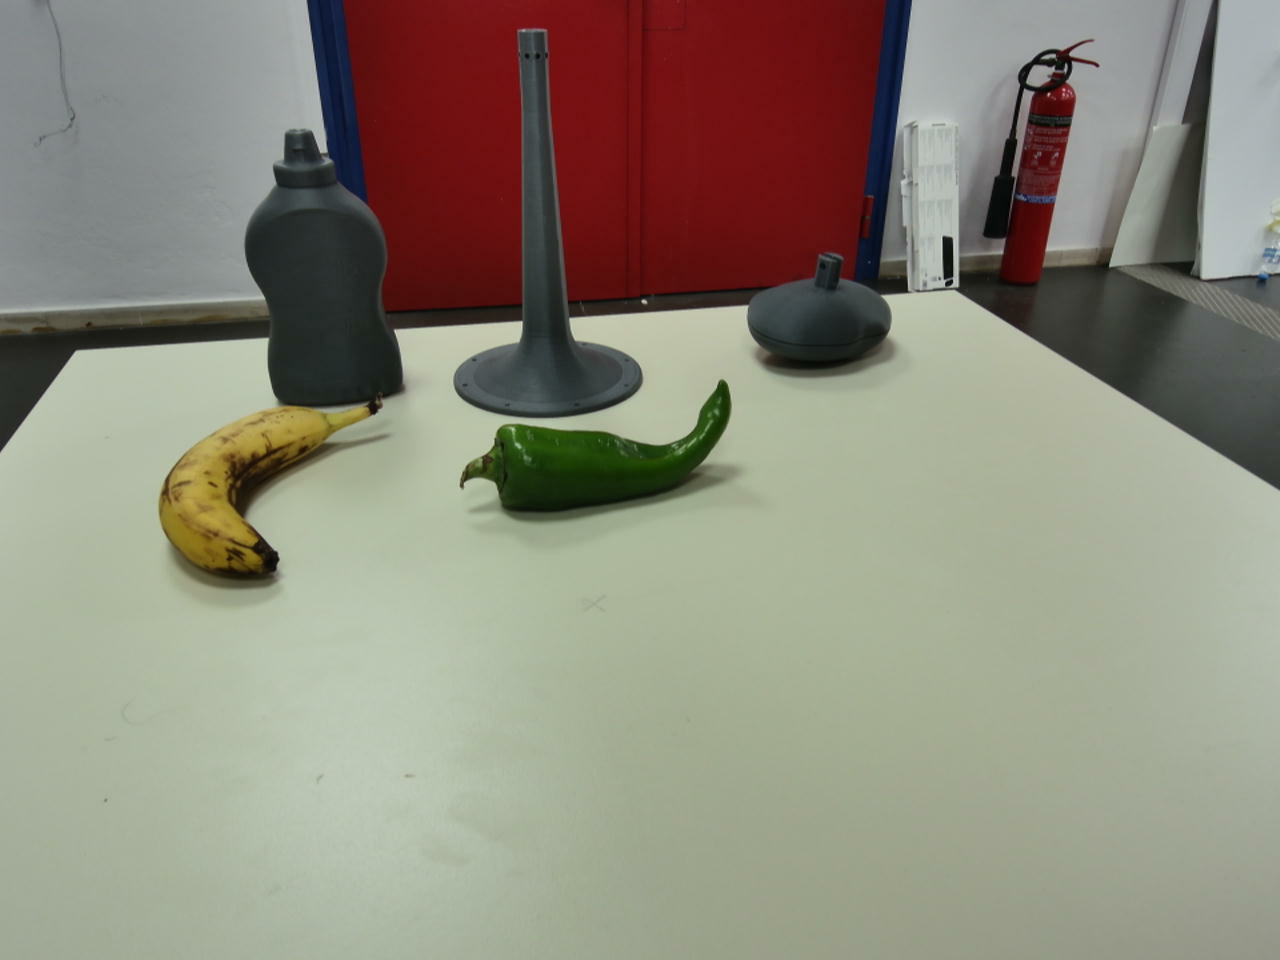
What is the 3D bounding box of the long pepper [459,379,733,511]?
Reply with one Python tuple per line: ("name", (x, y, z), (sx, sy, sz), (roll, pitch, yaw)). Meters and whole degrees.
("long pepper", (-0.024, -0.020, 0.613), (0.175, 0.065, 0.058), (-6, 27, -13))
